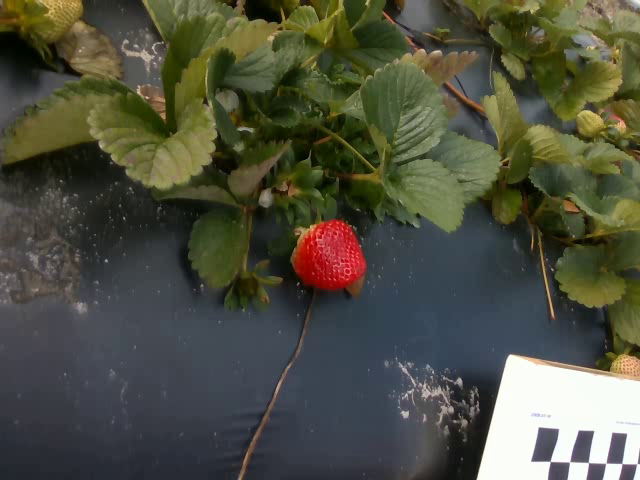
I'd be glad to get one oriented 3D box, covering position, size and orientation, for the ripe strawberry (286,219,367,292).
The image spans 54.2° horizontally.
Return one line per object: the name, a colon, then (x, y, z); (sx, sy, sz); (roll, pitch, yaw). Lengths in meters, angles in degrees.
ripe strawberry: (0.007, 0.013, 0.393); (0.050, 0.049, 0.053); (6, 23, -37)
